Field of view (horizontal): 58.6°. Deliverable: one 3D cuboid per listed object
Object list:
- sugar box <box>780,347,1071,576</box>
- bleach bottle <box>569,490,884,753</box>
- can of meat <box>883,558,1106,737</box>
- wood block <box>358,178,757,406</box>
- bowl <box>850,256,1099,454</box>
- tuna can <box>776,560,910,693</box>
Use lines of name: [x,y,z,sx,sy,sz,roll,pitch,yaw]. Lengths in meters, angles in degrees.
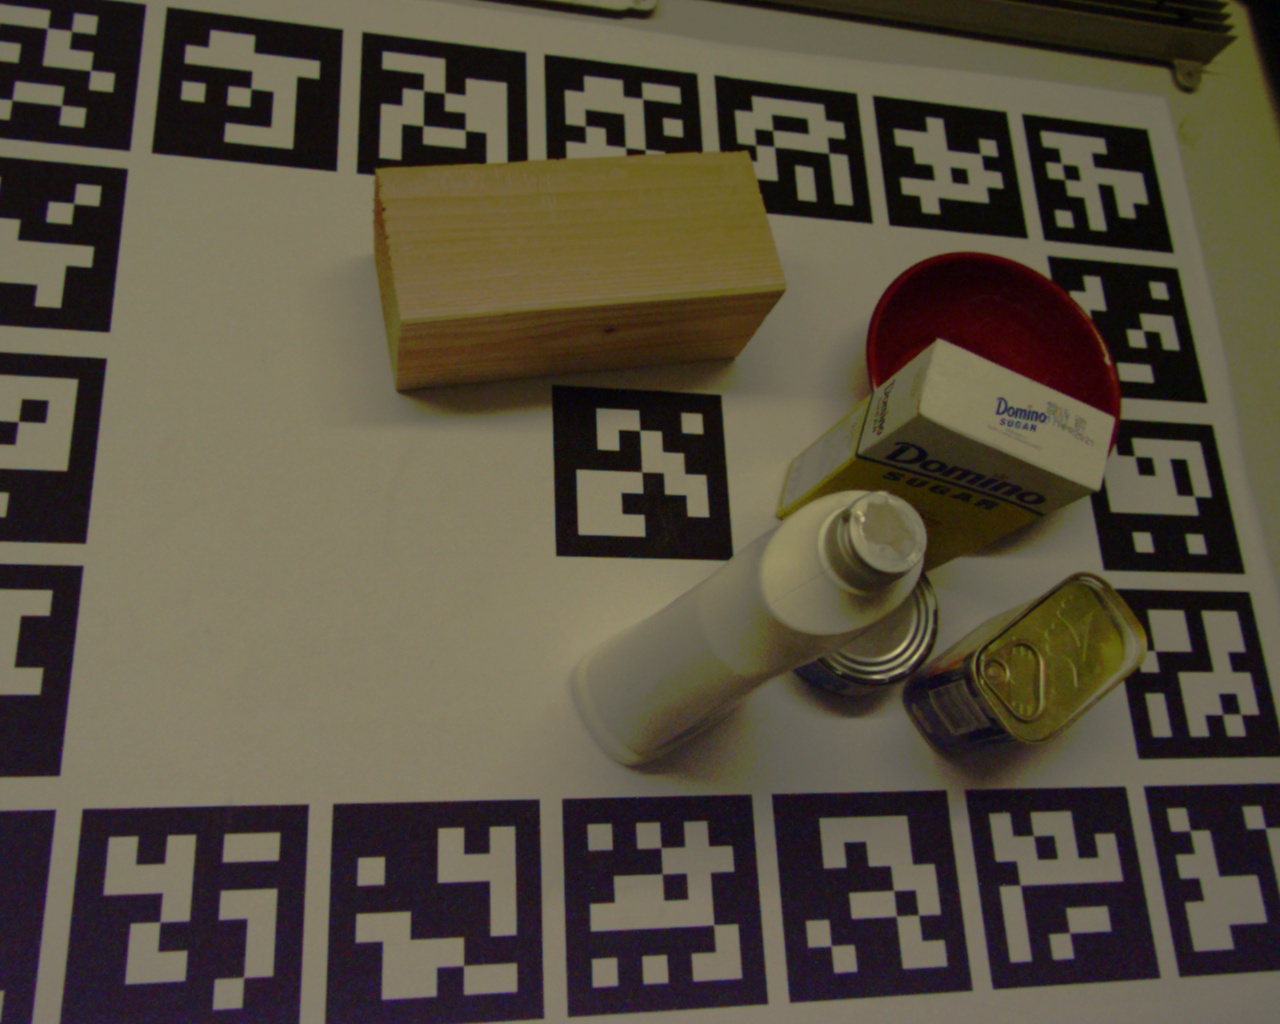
sugar box: [0.143,-0.020,0.614,0.093,0.177,0.045,20,70,-3]
bleach bottle: [0.039,0.050,0.528,0.102,0.251,0.068,-26,79,-20]
can of meat: [0.197,0.080,0.650,0.101,0.084,0.058,-31,78,-23]
wood block: [-0.051,-0.127,0.659,0.205,0.090,0.091,-9,78,-17]
bowl: [0.199,-0.077,0.716,0.161,0.055,0.162,3,71,-9]
tuna can: [0.108,0.061,0.655,0.085,0.034,0.086,3,74,-12]
